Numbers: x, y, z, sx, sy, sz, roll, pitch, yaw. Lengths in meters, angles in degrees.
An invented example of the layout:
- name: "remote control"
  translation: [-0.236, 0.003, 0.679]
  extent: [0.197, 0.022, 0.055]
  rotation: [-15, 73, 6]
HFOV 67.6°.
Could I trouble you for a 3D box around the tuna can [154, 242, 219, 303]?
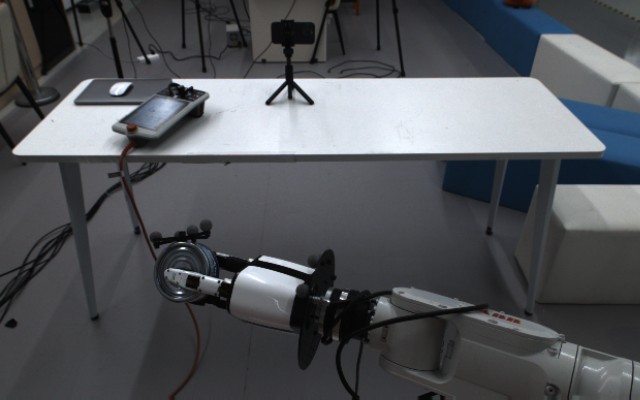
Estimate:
- name: "tuna can"
  translation: [-0.184, 0.107, 0.675]
  extent: [0.085, 0.085, 0.034]
  rotation: [12, -6, 15]
